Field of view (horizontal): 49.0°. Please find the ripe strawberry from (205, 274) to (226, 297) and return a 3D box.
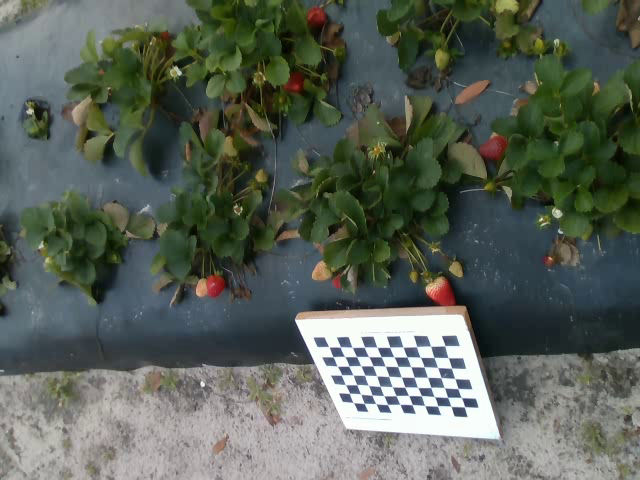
[{"bbox_3d":[-0.180,0.078,1.151,0.034,0.042,0.033,21,-18,11],"label":"ripe strawberry"}]
